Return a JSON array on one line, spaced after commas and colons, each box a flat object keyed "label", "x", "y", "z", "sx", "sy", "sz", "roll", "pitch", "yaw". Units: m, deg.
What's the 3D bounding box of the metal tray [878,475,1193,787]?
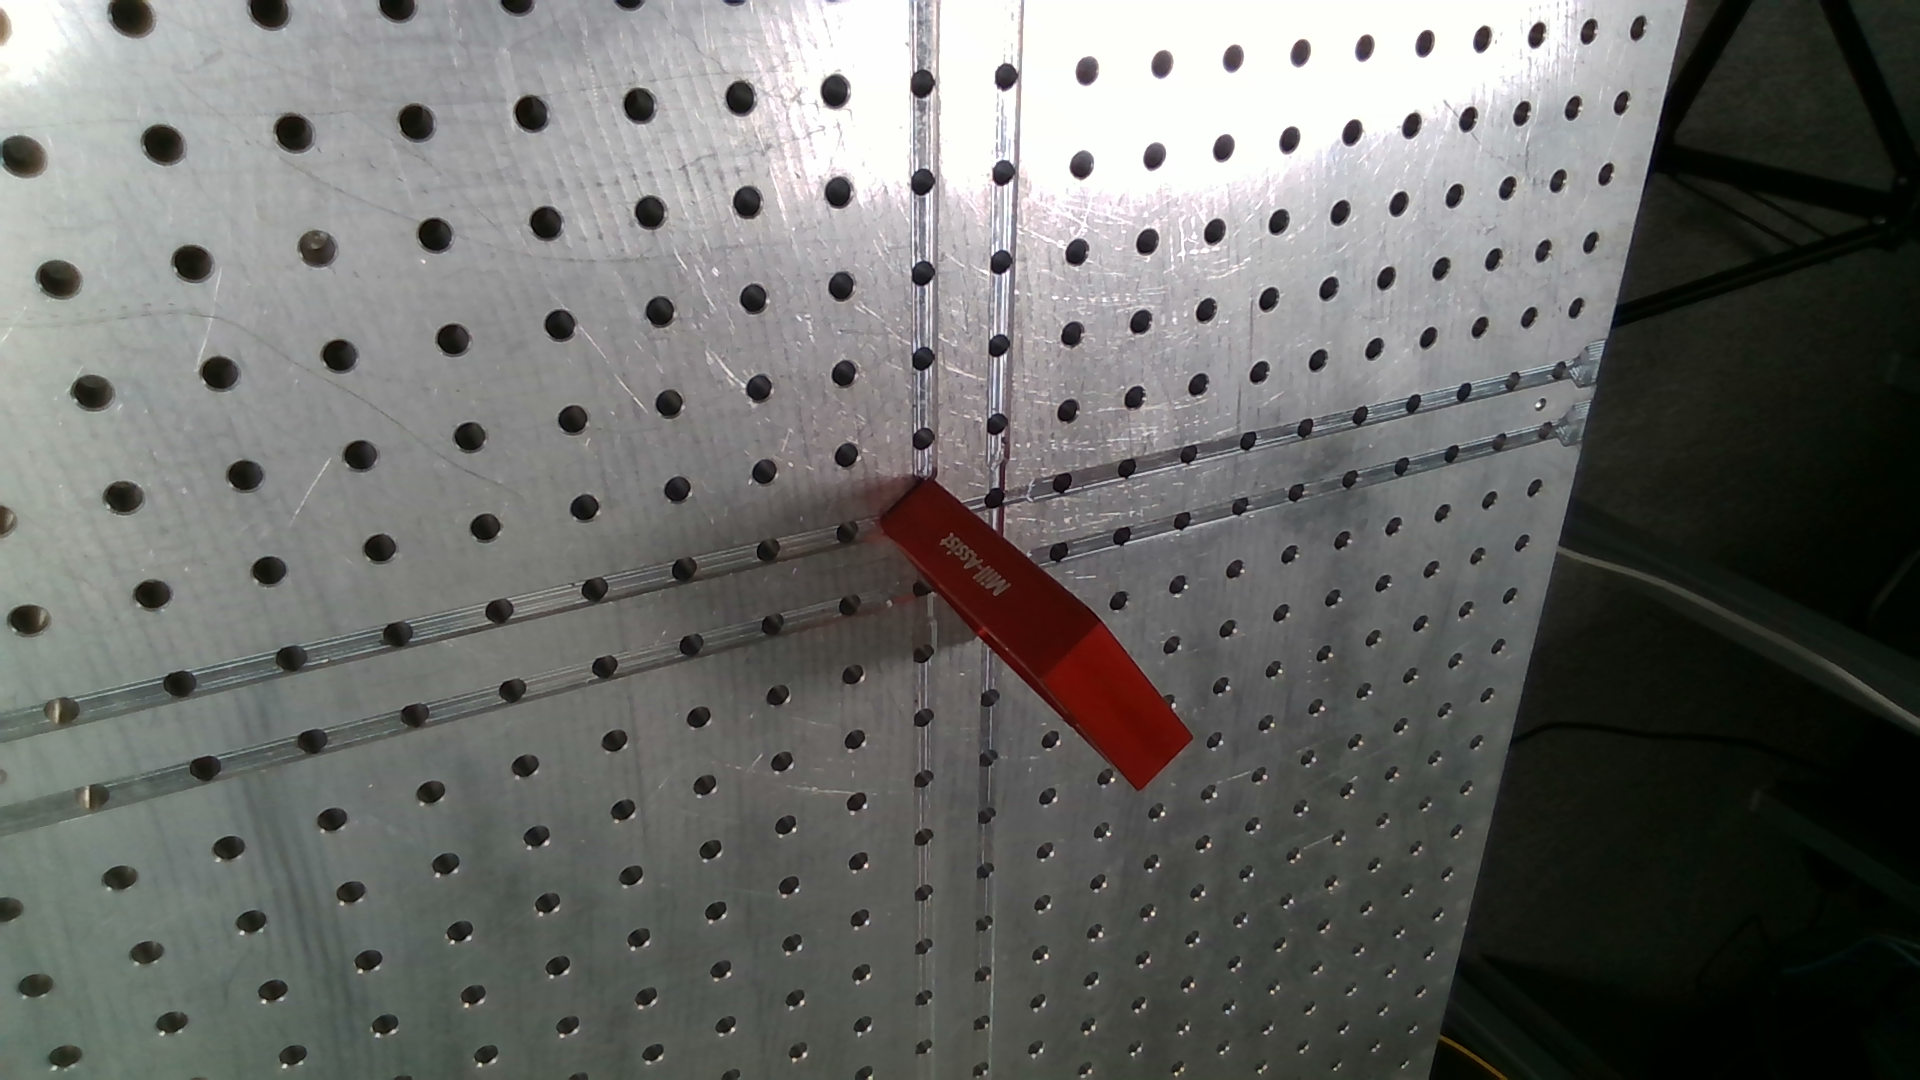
[{"label": "metal tray", "x": 0.028, "y": 0.034, "z": 0.551, "sx": 0.030, "sy": 0.130, "sz": 0.090, "roll": -44, "pitch": 129, "yaw": -4}]
